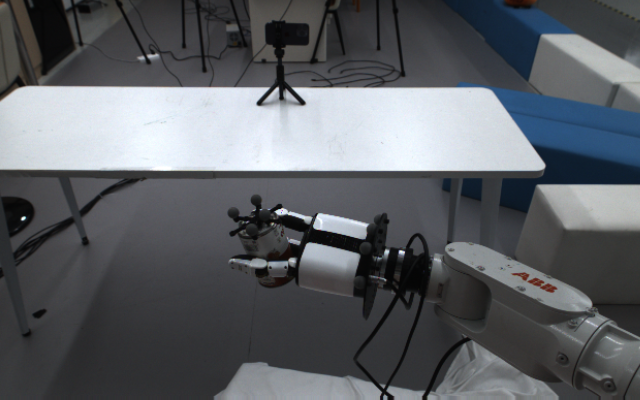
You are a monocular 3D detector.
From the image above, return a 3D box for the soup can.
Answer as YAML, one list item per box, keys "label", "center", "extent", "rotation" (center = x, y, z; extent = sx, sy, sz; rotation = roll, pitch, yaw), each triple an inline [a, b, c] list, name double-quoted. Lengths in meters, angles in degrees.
- label: "soup can"
  center: [-0.078, 0.076, 0.741]
  extent: [0.067, 0.101, 0.067]
  rotation: [-14, 31, 8]
